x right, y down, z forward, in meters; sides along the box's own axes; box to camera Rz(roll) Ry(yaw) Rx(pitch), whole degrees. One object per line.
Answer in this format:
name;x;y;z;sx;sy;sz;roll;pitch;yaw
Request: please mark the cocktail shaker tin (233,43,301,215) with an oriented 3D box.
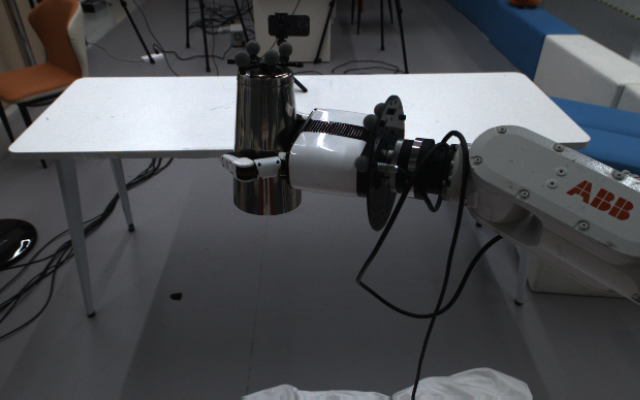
cocktail shaker tin;-0.065;-0.077;0.608;0.093;0.170;0.093;2;28;-1
